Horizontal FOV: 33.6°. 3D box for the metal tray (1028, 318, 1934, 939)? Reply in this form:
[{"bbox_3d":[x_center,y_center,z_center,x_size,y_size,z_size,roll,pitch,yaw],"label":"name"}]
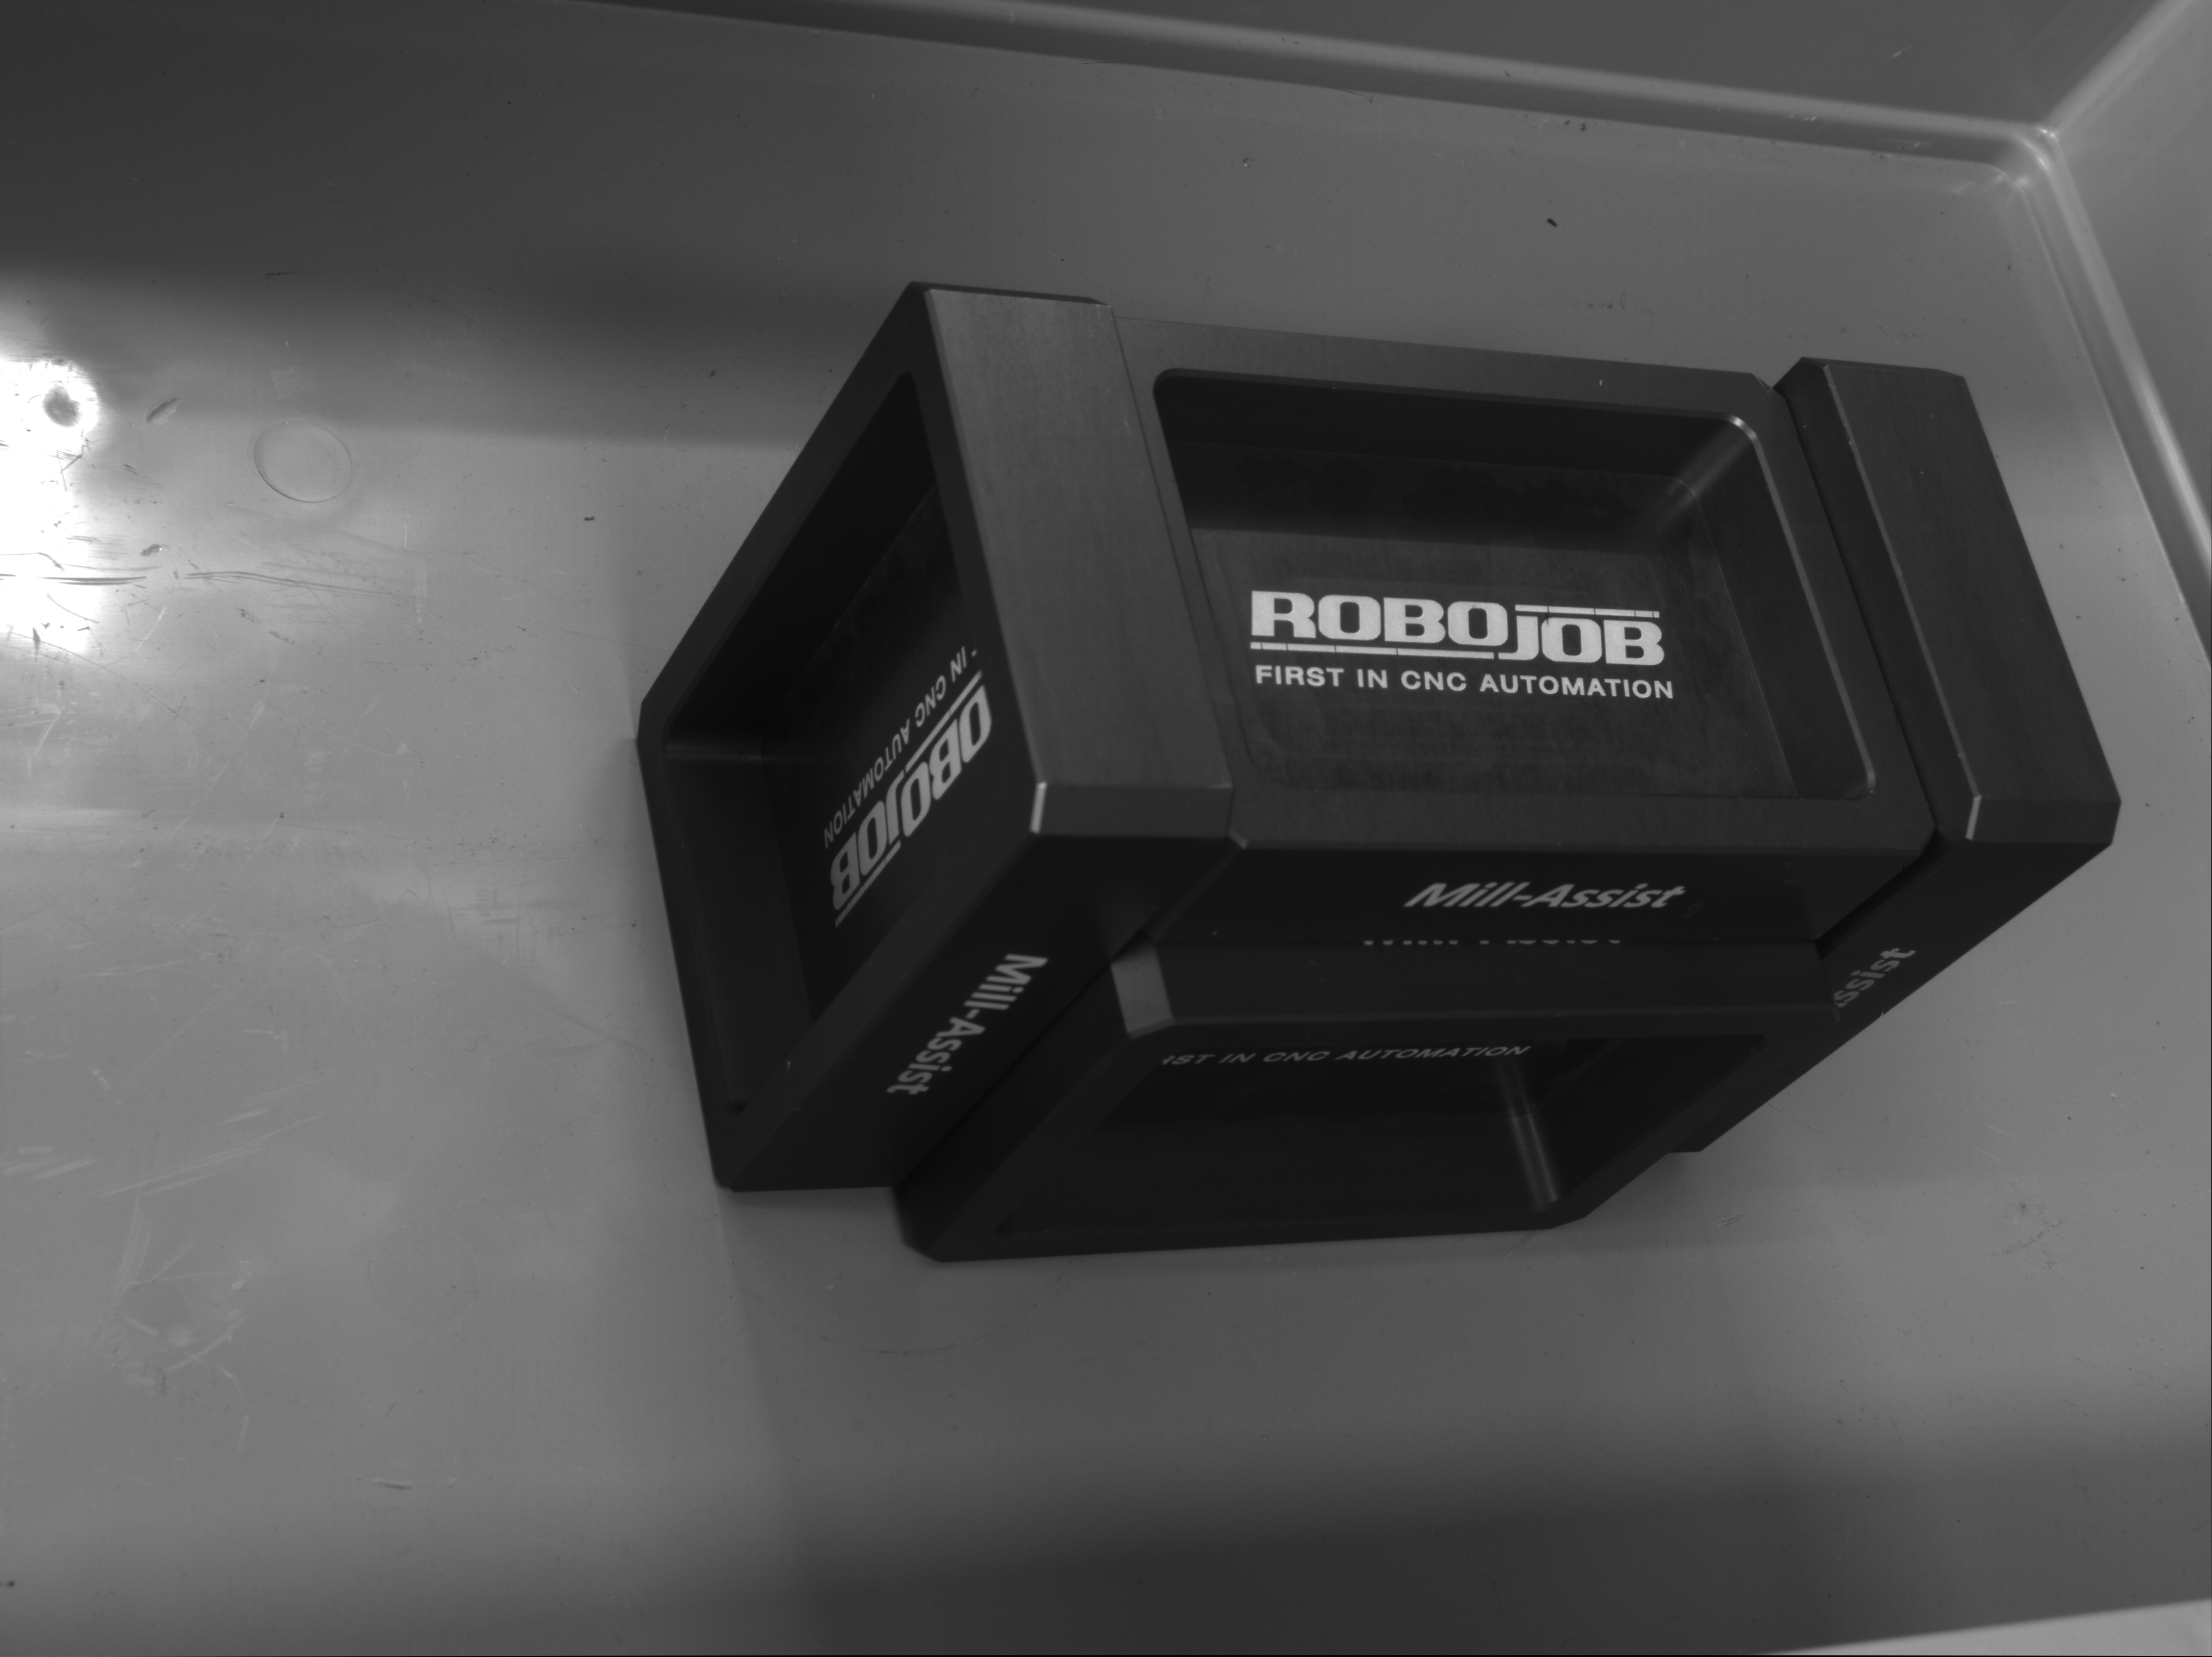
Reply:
[{"bbox_3d":[0.057,-0.029,0.566,0.130,0.030,0.090,1,61,-28],"label":"metal tray"}]

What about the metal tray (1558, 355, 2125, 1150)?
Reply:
[{"bbox_3d":[0.112,-0.009,0.634,0.030,0.130,0.090,1,62,-27],"label":"metal tray"}]

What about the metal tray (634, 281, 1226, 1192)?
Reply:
[{"bbox_3d":[-0.032,-0.010,0.559,0.030,0.130,0.090,1,62,-28],"label":"metal tray"}]

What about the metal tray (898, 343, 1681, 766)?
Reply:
[{"bbox_3d":[0.022,-0.042,0.632,0.130,0.090,0.030,0,62,-28],"label":"metal tray"}]

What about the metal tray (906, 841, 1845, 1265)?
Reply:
[{"bbox_3d":[0.041,0.036,0.593,0.130,0.090,0.030,0,61,-28],"label":"metal tray"}]
